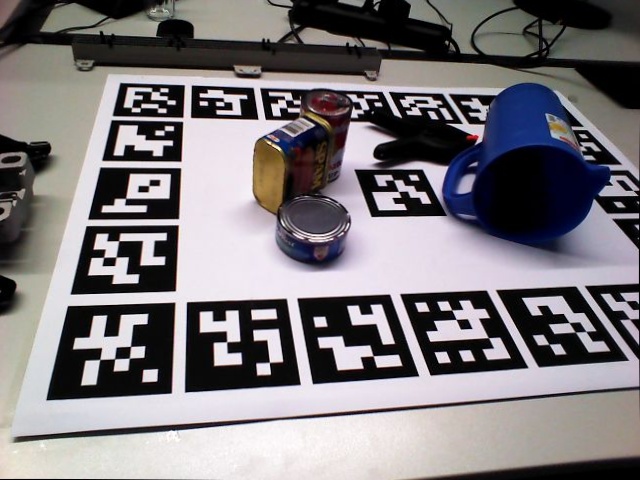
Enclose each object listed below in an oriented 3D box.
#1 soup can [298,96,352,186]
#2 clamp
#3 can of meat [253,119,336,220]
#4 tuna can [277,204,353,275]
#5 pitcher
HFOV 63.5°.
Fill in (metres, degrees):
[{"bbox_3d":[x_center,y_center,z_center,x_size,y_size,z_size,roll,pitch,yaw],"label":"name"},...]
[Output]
[{"bbox_3d":[0.002,-0.128,0.686,0.068,0.102,0.067,3,46,-3],"label":"soup can"},{"bbox_3d":[0.142,-0.142,0.784,0.165,0.037,0.121,3,40,-12],"label":"clamp"},{"bbox_3d":[-0.033,-0.083,0.626,0.083,0.102,0.058,-34,59,-31],"label":"can of meat"},{"bbox_3d":[-0.007,-0.001,0.598,0.086,0.034,0.085,5,45,-5],"label":"tuna can"},{"bbox_3d":[0.277,-0.111,0.685,0.190,0.133,0.241,-3,33,19],"label":"pitcher"}]
